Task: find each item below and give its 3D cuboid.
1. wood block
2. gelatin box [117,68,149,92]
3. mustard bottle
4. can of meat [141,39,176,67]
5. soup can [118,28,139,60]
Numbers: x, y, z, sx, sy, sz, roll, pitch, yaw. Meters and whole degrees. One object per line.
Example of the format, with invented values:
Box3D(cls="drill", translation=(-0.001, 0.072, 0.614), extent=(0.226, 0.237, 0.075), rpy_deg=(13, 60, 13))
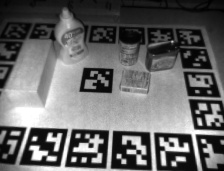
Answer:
Box3D(cls="wood block", translation=(-0.246, -0.055, 0.666), extent=(0.091, 0.090, 0.205), rpy_deg=(4, 51, 1))
Box3D(cls="gelatin box", translation=(0.067, -0.023, 0.682), extent=(0.089, 0.030, 0.073), rpy_deg=(10, 57, 9))
Box3D(cls="mustard bottle", translation=(-0.142, -0.163, 0.688), extent=(0.097, 0.192, 0.058), rpy_deg=(-19, 56, -14))
Box3D(cls="can of meat", translation=(0.149, -0.109, 0.717), extent=(0.102, 0.084, 0.057), rpy_deg=(-8, 56, -9))
Box3D(cls="soup can", translation=(0.053, -0.142, 0.716), extent=(0.068, 0.102, 0.067), rpy_deg=(0, 56, 1))
